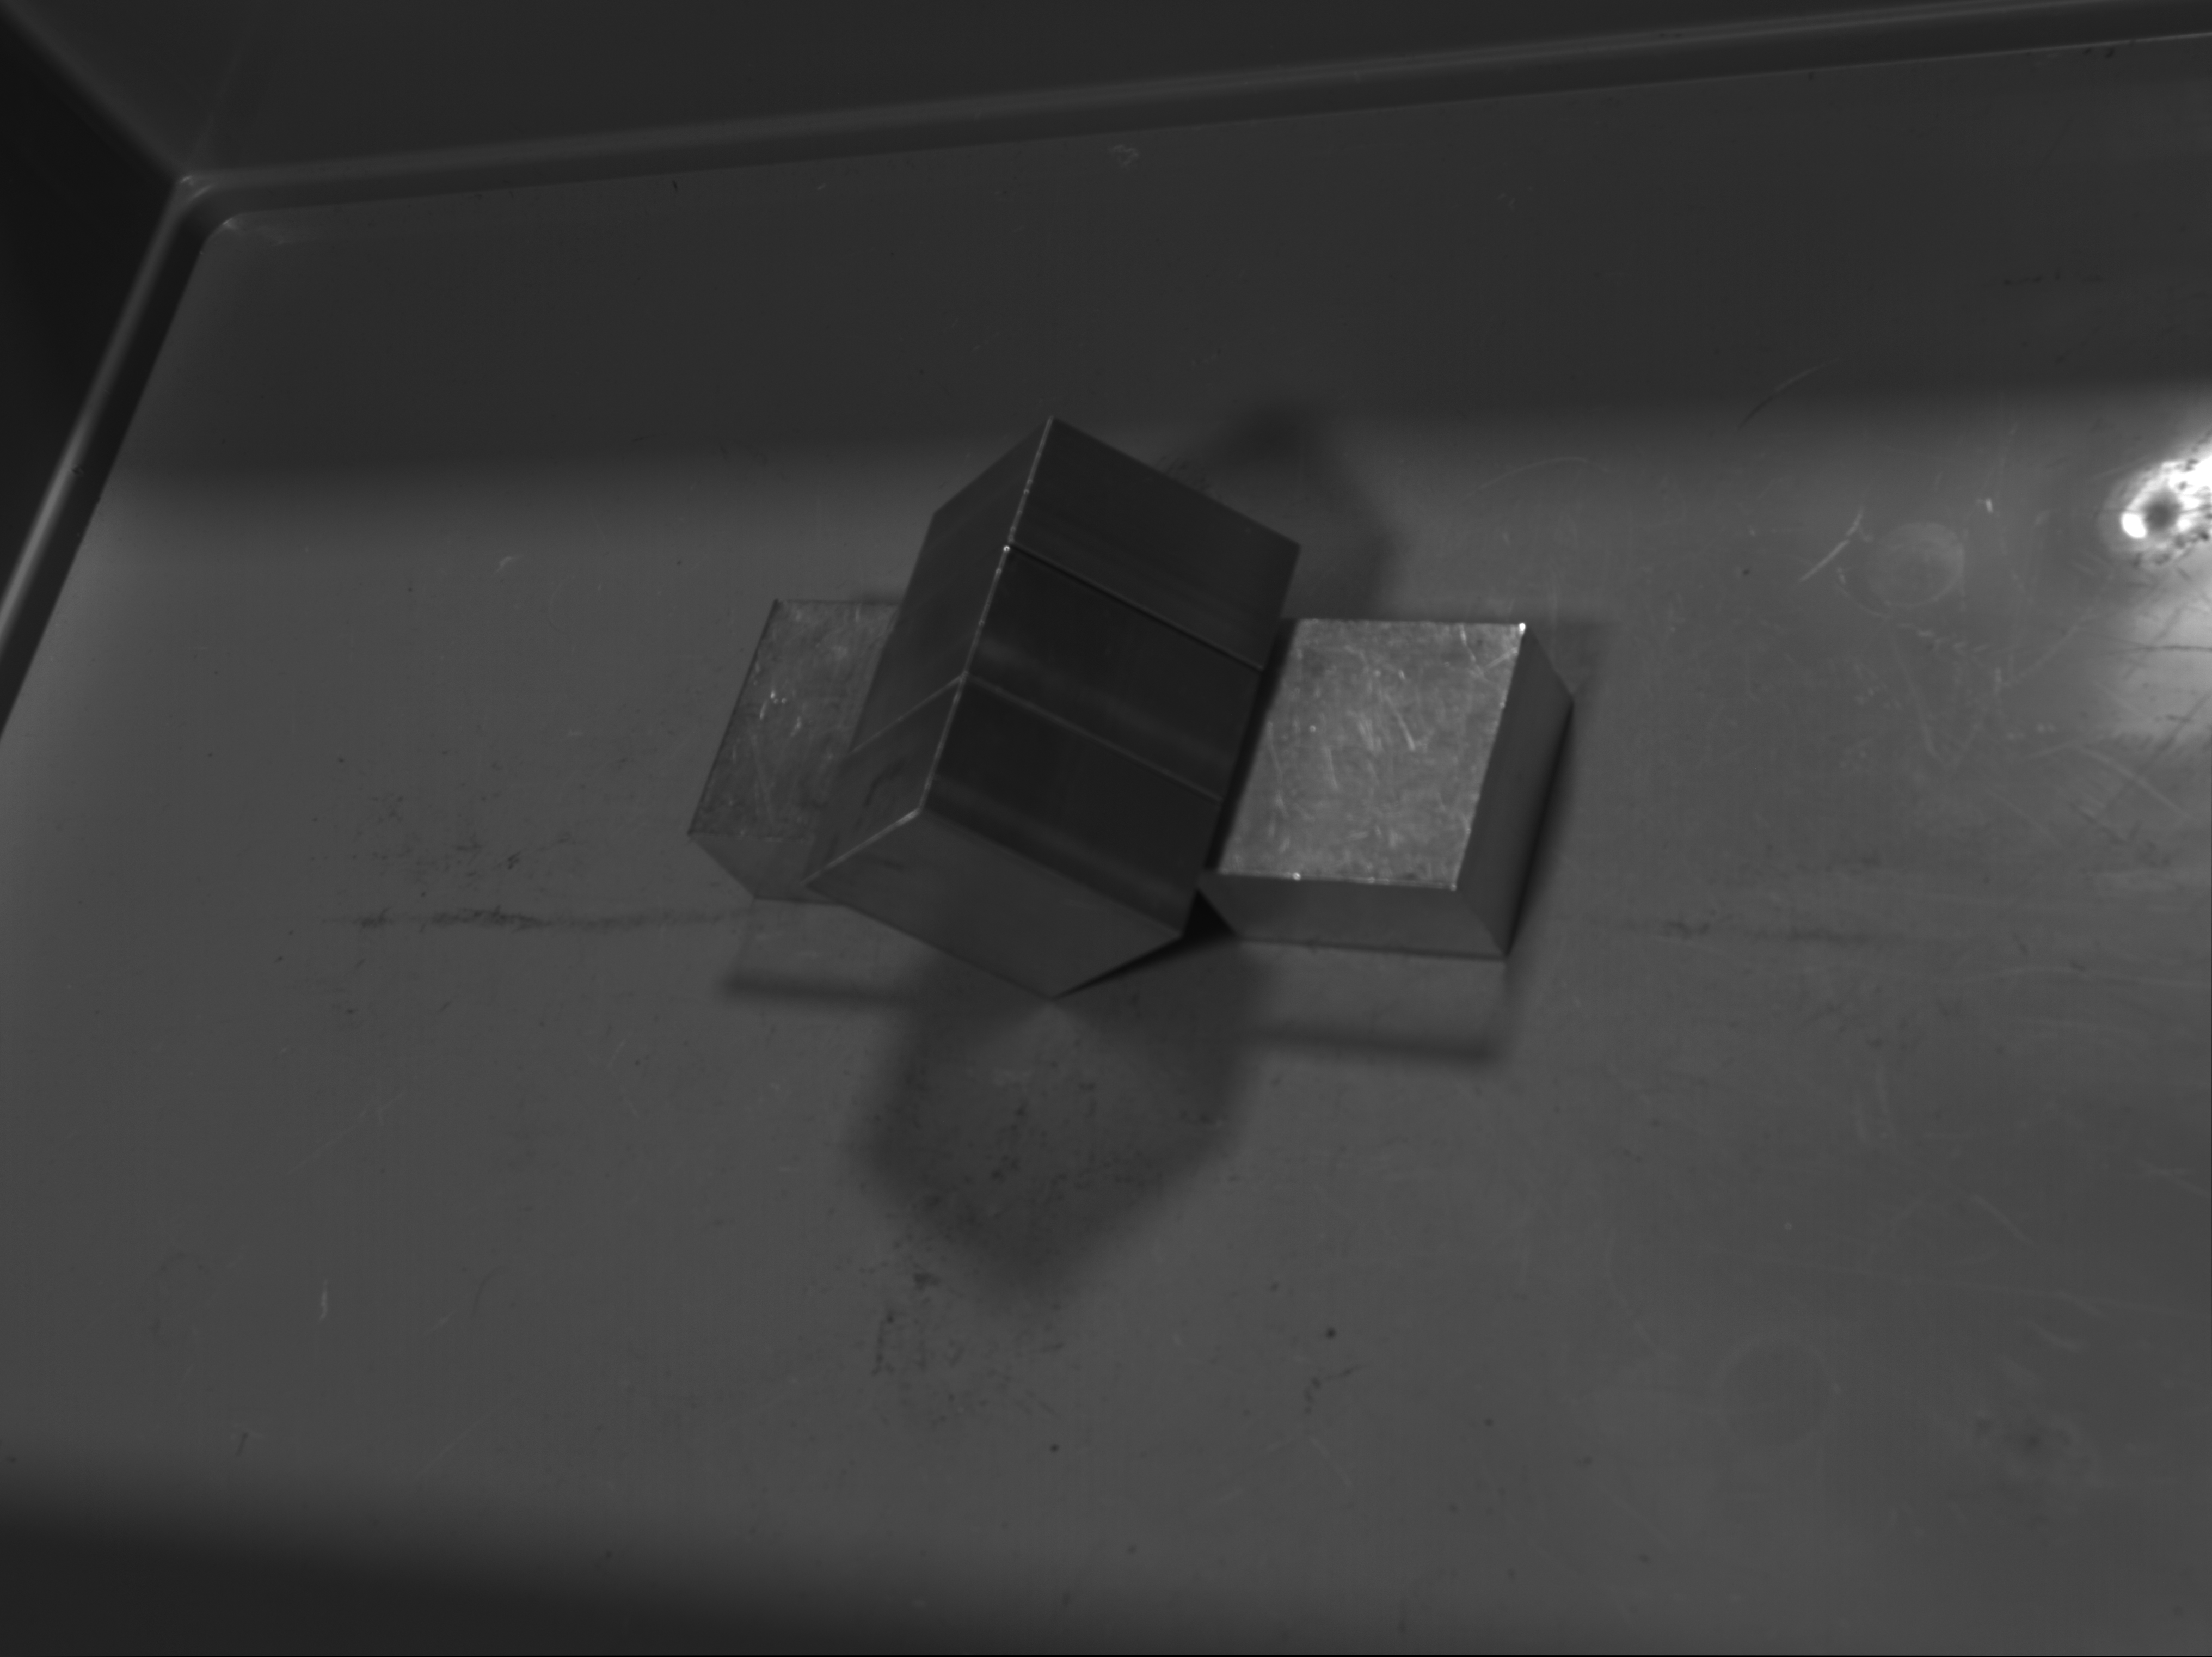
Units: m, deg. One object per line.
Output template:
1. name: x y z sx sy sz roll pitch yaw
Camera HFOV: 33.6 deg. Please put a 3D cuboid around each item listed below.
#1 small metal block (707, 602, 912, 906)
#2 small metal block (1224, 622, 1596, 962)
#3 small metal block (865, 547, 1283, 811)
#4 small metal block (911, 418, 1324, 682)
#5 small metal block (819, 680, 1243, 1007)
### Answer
1. small metal block: -0.038 -0.013 0.672 0.050 0.025 0.050 4 63 30
2. small metal block: 0.050 -0.007 0.620 0.050 0.025 0.050 3 63 30
3. small metal block: -0.006 -0.019 0.628 0.050 0.050 0.025 -30 39 59
4. small metal block: 0.001 -0.041 0.638 0.050 0.050 0.025 -29 39 59
5. small metal block: -0.013 0.004 0.619 0.050 0.050 0.025 -30 39 59
